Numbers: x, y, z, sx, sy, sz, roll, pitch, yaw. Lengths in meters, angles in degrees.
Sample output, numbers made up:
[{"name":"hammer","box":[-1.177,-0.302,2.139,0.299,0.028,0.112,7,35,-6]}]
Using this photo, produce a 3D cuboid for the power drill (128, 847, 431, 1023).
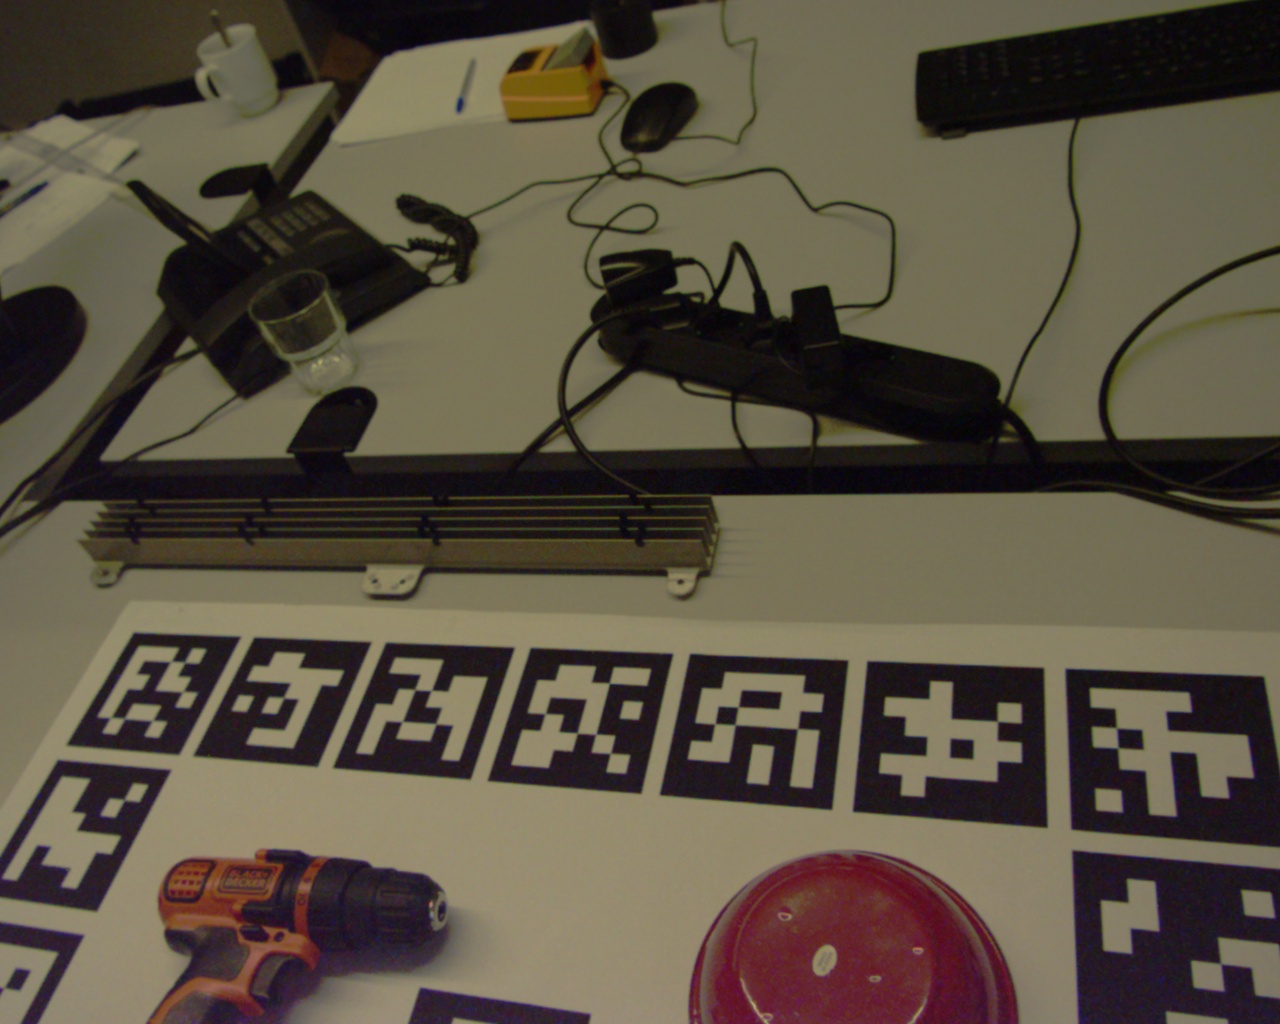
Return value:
[{"name":"power drill","box":[-0.226,0.281,0.643,0.186,0.057,0.187,0,46,15]}]

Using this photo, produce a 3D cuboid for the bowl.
[{"name":"bowl","box":[0.086,0.223,0.595,0.162,0.055,0.162,-13,38,9]}]
